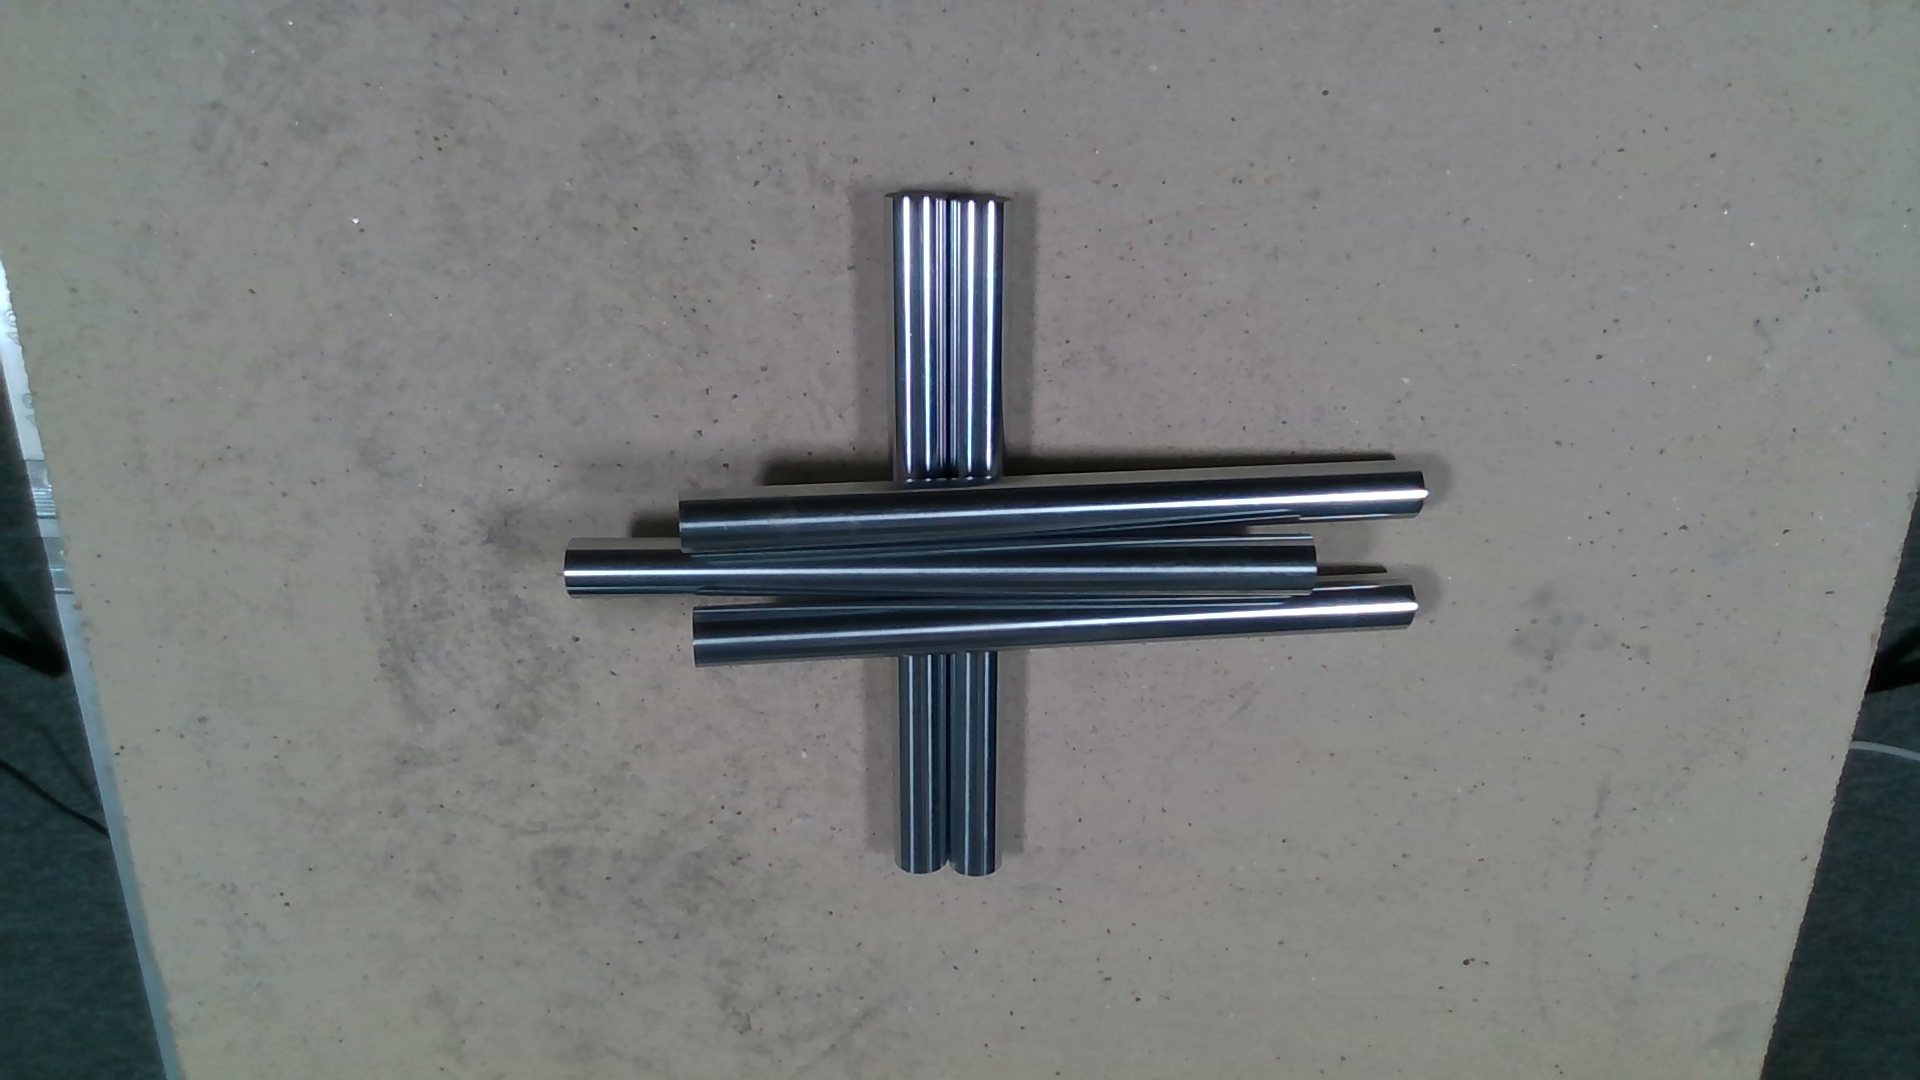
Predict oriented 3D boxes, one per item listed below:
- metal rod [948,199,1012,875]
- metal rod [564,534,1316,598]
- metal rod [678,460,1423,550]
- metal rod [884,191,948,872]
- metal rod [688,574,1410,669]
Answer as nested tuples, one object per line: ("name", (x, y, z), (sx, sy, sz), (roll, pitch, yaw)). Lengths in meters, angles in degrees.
("metal rod", (0.007, 0.008, 0.588), (0.025, 0.025, 0.301), (0, 110, 0))
("metal rod", (-0.008, 0.011, 0.562), (0.300, 0.025, 0.025), (0, 110, 0))
("metal rod", (0.040, -0.014, 0.557), (0.300, 0.025, 0.025), (-3, 110, -8))
("metal rod", (-0.018, 0.006, 0.588), (0.025, 0.025, 0.301), (0, 110, 0))
("metal rod", (0.040, 0.034, 0.574), (0.300, 0.025, 0.025), (-3, 110, -8))
